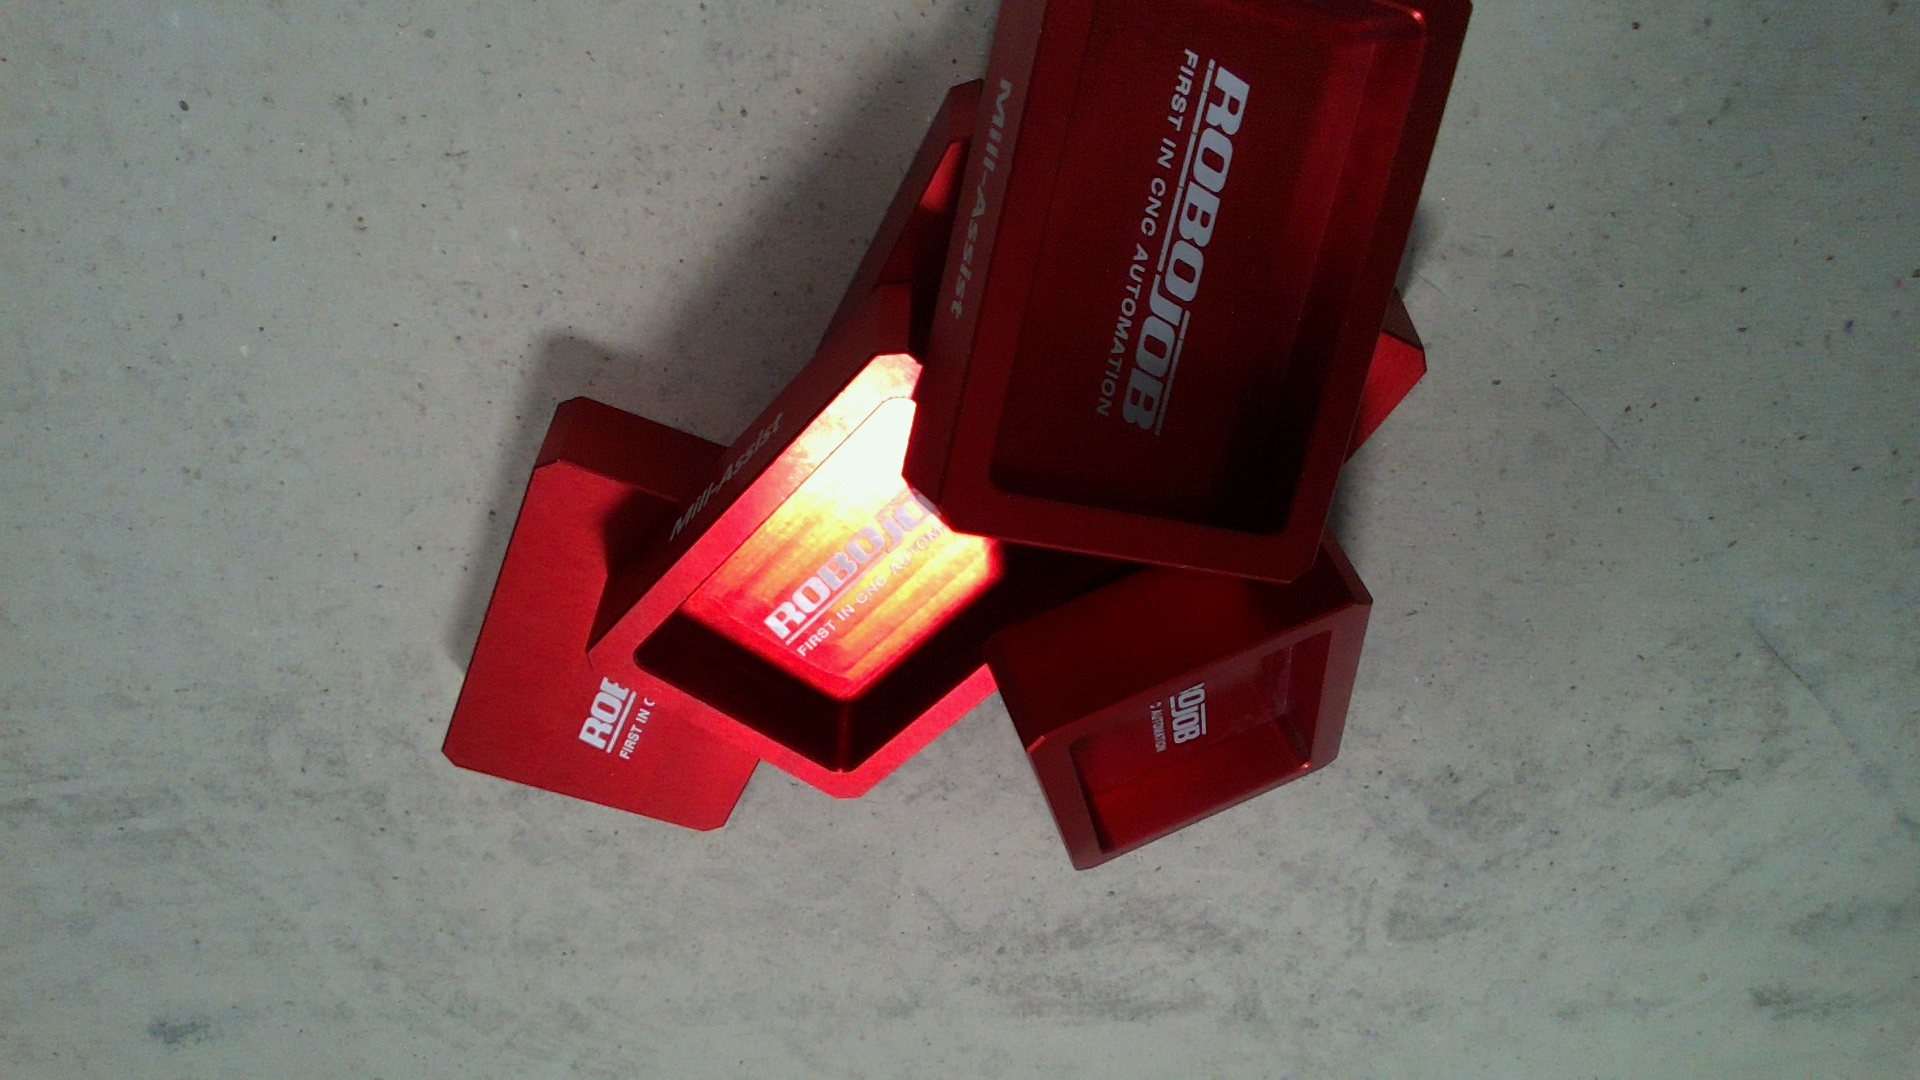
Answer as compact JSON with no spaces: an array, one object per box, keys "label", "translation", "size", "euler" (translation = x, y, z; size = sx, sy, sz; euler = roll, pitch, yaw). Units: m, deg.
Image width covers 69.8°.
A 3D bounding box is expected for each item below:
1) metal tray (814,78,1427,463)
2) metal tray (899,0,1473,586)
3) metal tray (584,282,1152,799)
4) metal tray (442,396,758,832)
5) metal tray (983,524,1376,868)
[{"label":"metal tray","translation":[0.038,-0.046,0.349],"size":[0.130,0.030,0.090],"euler":[21,127,-17]},{"label":"metal tray","translation":[0.046,-0.061,0.291],"size":[0.090,0.030,0.130],"euler":[9,103,-20]},{"label":"metal tray","translation":[-0.023,0.007,0.354],"size":[0.090,0.030,0.130],"euler":[34,122,-25]},{"label":"metal tray","translation":[-0.093,0.028,0.410],"size":[0.090,0.030,0.130],"euler":[19,128,-16]},{"label":"metal tray","translation":[0.062,0.047,0.383],"size":[0.090,0.030,0.130],"euler":[-24,152,-1]}]
